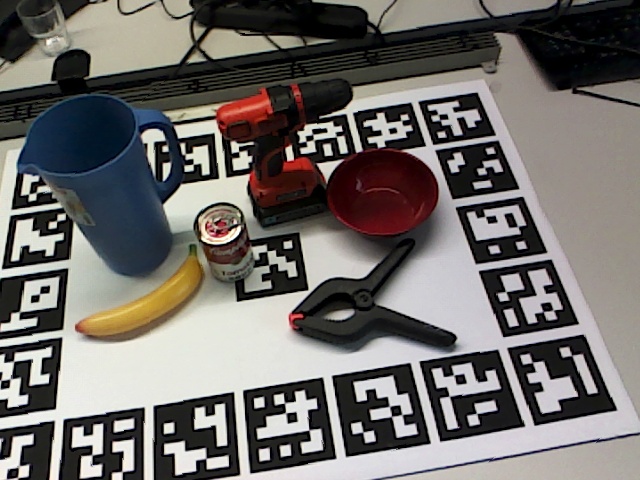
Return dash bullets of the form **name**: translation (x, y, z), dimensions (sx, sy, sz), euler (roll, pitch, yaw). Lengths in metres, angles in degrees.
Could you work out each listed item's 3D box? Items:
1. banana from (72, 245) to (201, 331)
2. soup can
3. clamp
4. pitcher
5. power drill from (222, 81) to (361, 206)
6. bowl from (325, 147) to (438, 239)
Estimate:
- **banana**: translation (-0.243, 0.077, 0.855), dimensions (0.197, 0.038, 0.075), euler (-30, 50, -17)
- **soup can**: translation (-0.131, -0.002, 0.859), dimensions (0.068, 0.101, 0.068), euler (-4, 47, 4)
- **clamp**: translation (0.054, 0.082, 0.815), dimensions (0.202, 0.036, 0.166), euler (-11, 60, -3)
- **pitcher**: translation (-0.263, -0.073, 0.833), dimensions (0.188, 0.241, 0.134), euler (-30, 56, -15)
- **power drill**: translation (-0.033, -0.134, 0.865), dimensions (0.184, 0.186, 0.057), euler (-13, 56, -5)
- **bowl**: translation (0.089, -0.058, 0.903), dimensions (0.162, 0.055, 0.162), euler (-3, 57, 4)
